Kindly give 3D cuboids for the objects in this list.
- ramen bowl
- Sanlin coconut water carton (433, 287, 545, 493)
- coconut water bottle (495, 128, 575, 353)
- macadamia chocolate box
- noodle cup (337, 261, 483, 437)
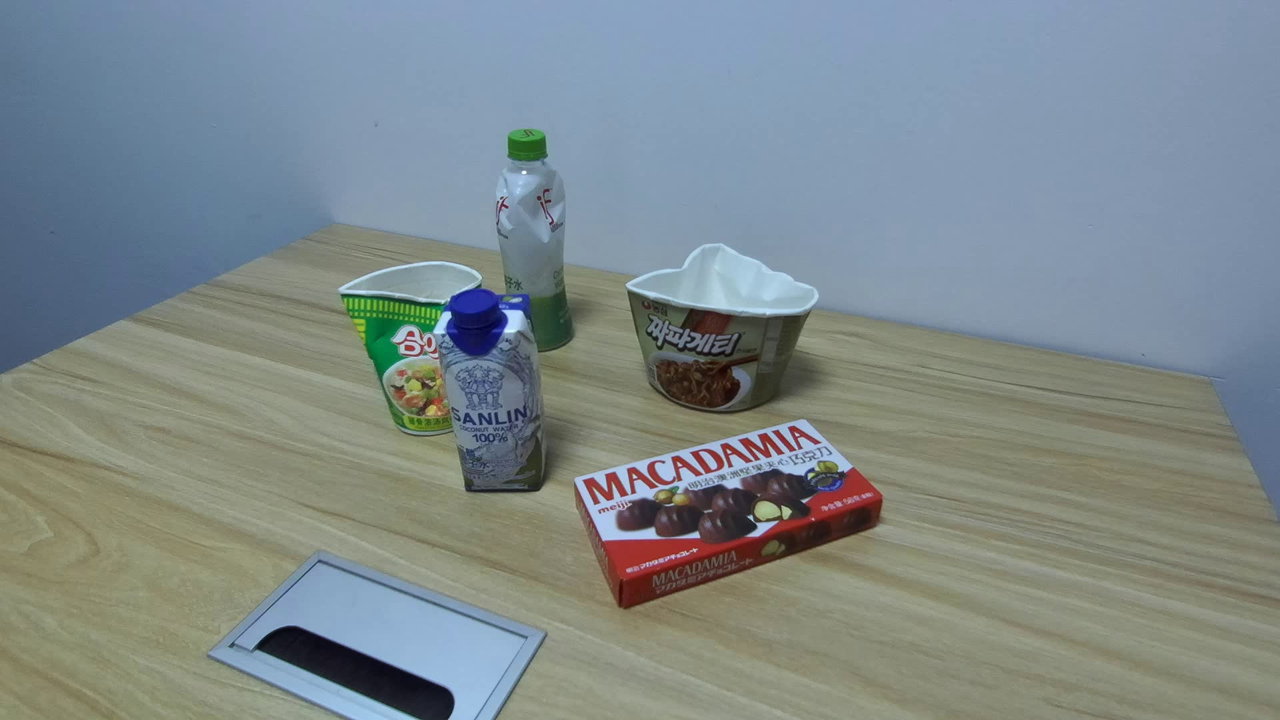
[{"bbox_3d":[0.072,-0.024,0.572,0.133,0.097,0.114,22,38,32],"label":"ramen bowl"},{"bbox_3d":[-0.097,0.018,0.468,0.060,0.144,0.060,-2,30,-1],"label":"Sanlin coconut water carton"},{"bbox_3d":[-0.093,-0.101,0.617,0.067,0.187,0.067,1,29,0],"label":"coconut water bottle"},{"bbox_3d":[0.055,0.092,0.457,0.178,0.027,0.095,-12,33,-17],"label":"macadamia chocolate box"},{"bbox_3d":[-0.161,-0.008,0.539,0.082,0.122,0.075,6,21,31],"label":"noodle cup"}]
